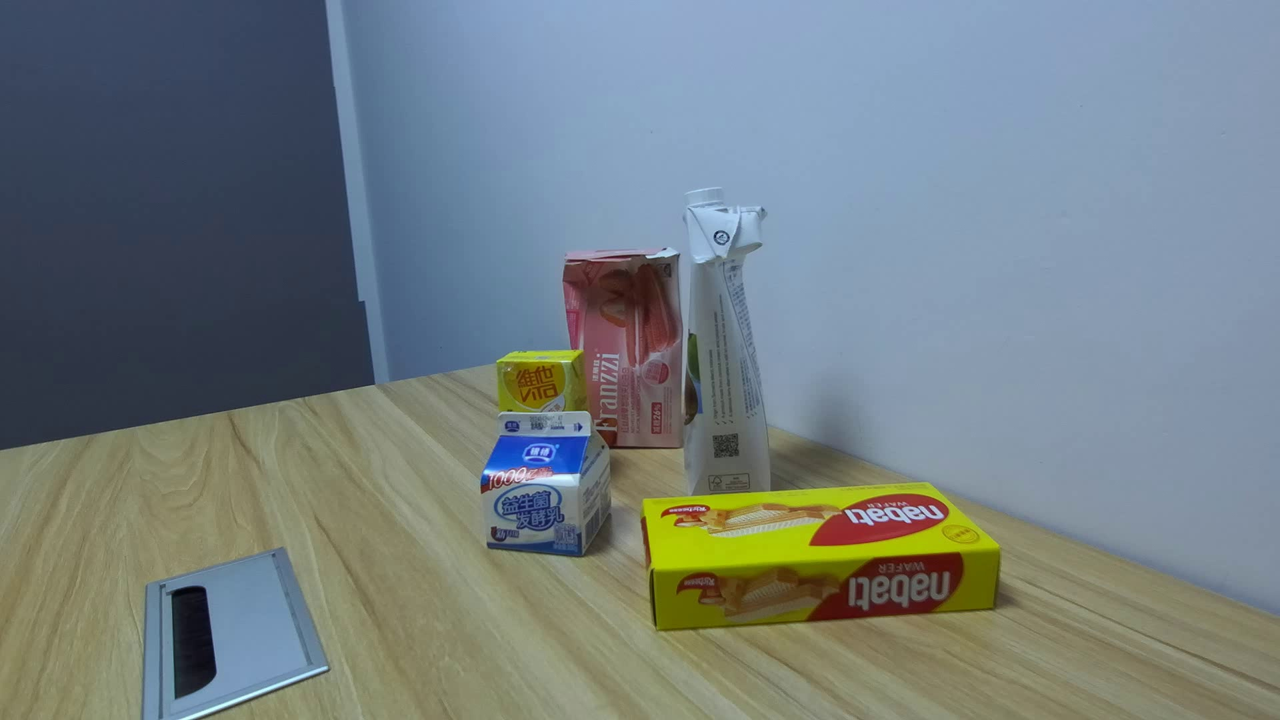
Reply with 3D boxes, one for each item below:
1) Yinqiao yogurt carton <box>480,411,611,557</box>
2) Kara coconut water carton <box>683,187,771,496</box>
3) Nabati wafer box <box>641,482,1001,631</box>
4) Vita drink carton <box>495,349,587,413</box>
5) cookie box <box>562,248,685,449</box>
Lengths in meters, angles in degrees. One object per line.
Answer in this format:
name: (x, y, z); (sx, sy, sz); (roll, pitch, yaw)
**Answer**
Yinqiao yogurt carton: (-0.066, 0.080, 0.507); (0.075, 0.092, 0.074); (0, 15, 15)
Kara coconut water carton: (0.068, -0.012, 0.549); (0.069, 0.238, 0.115); (-1, 15, 9)
Nabati wafer box: (0.104, 0.118, 0.442); (0.203, 0.042, 0.092); (-2, 14, -3)
Vita drink carton: (-0.076, 0.048, 0.597); (0.076, 0.109, 0.043); (0, 13, 11)
cookie box: (-0.015, -0.010, 0.662); (0.118, 0.184, 0.055); (-1, 15, 10)
